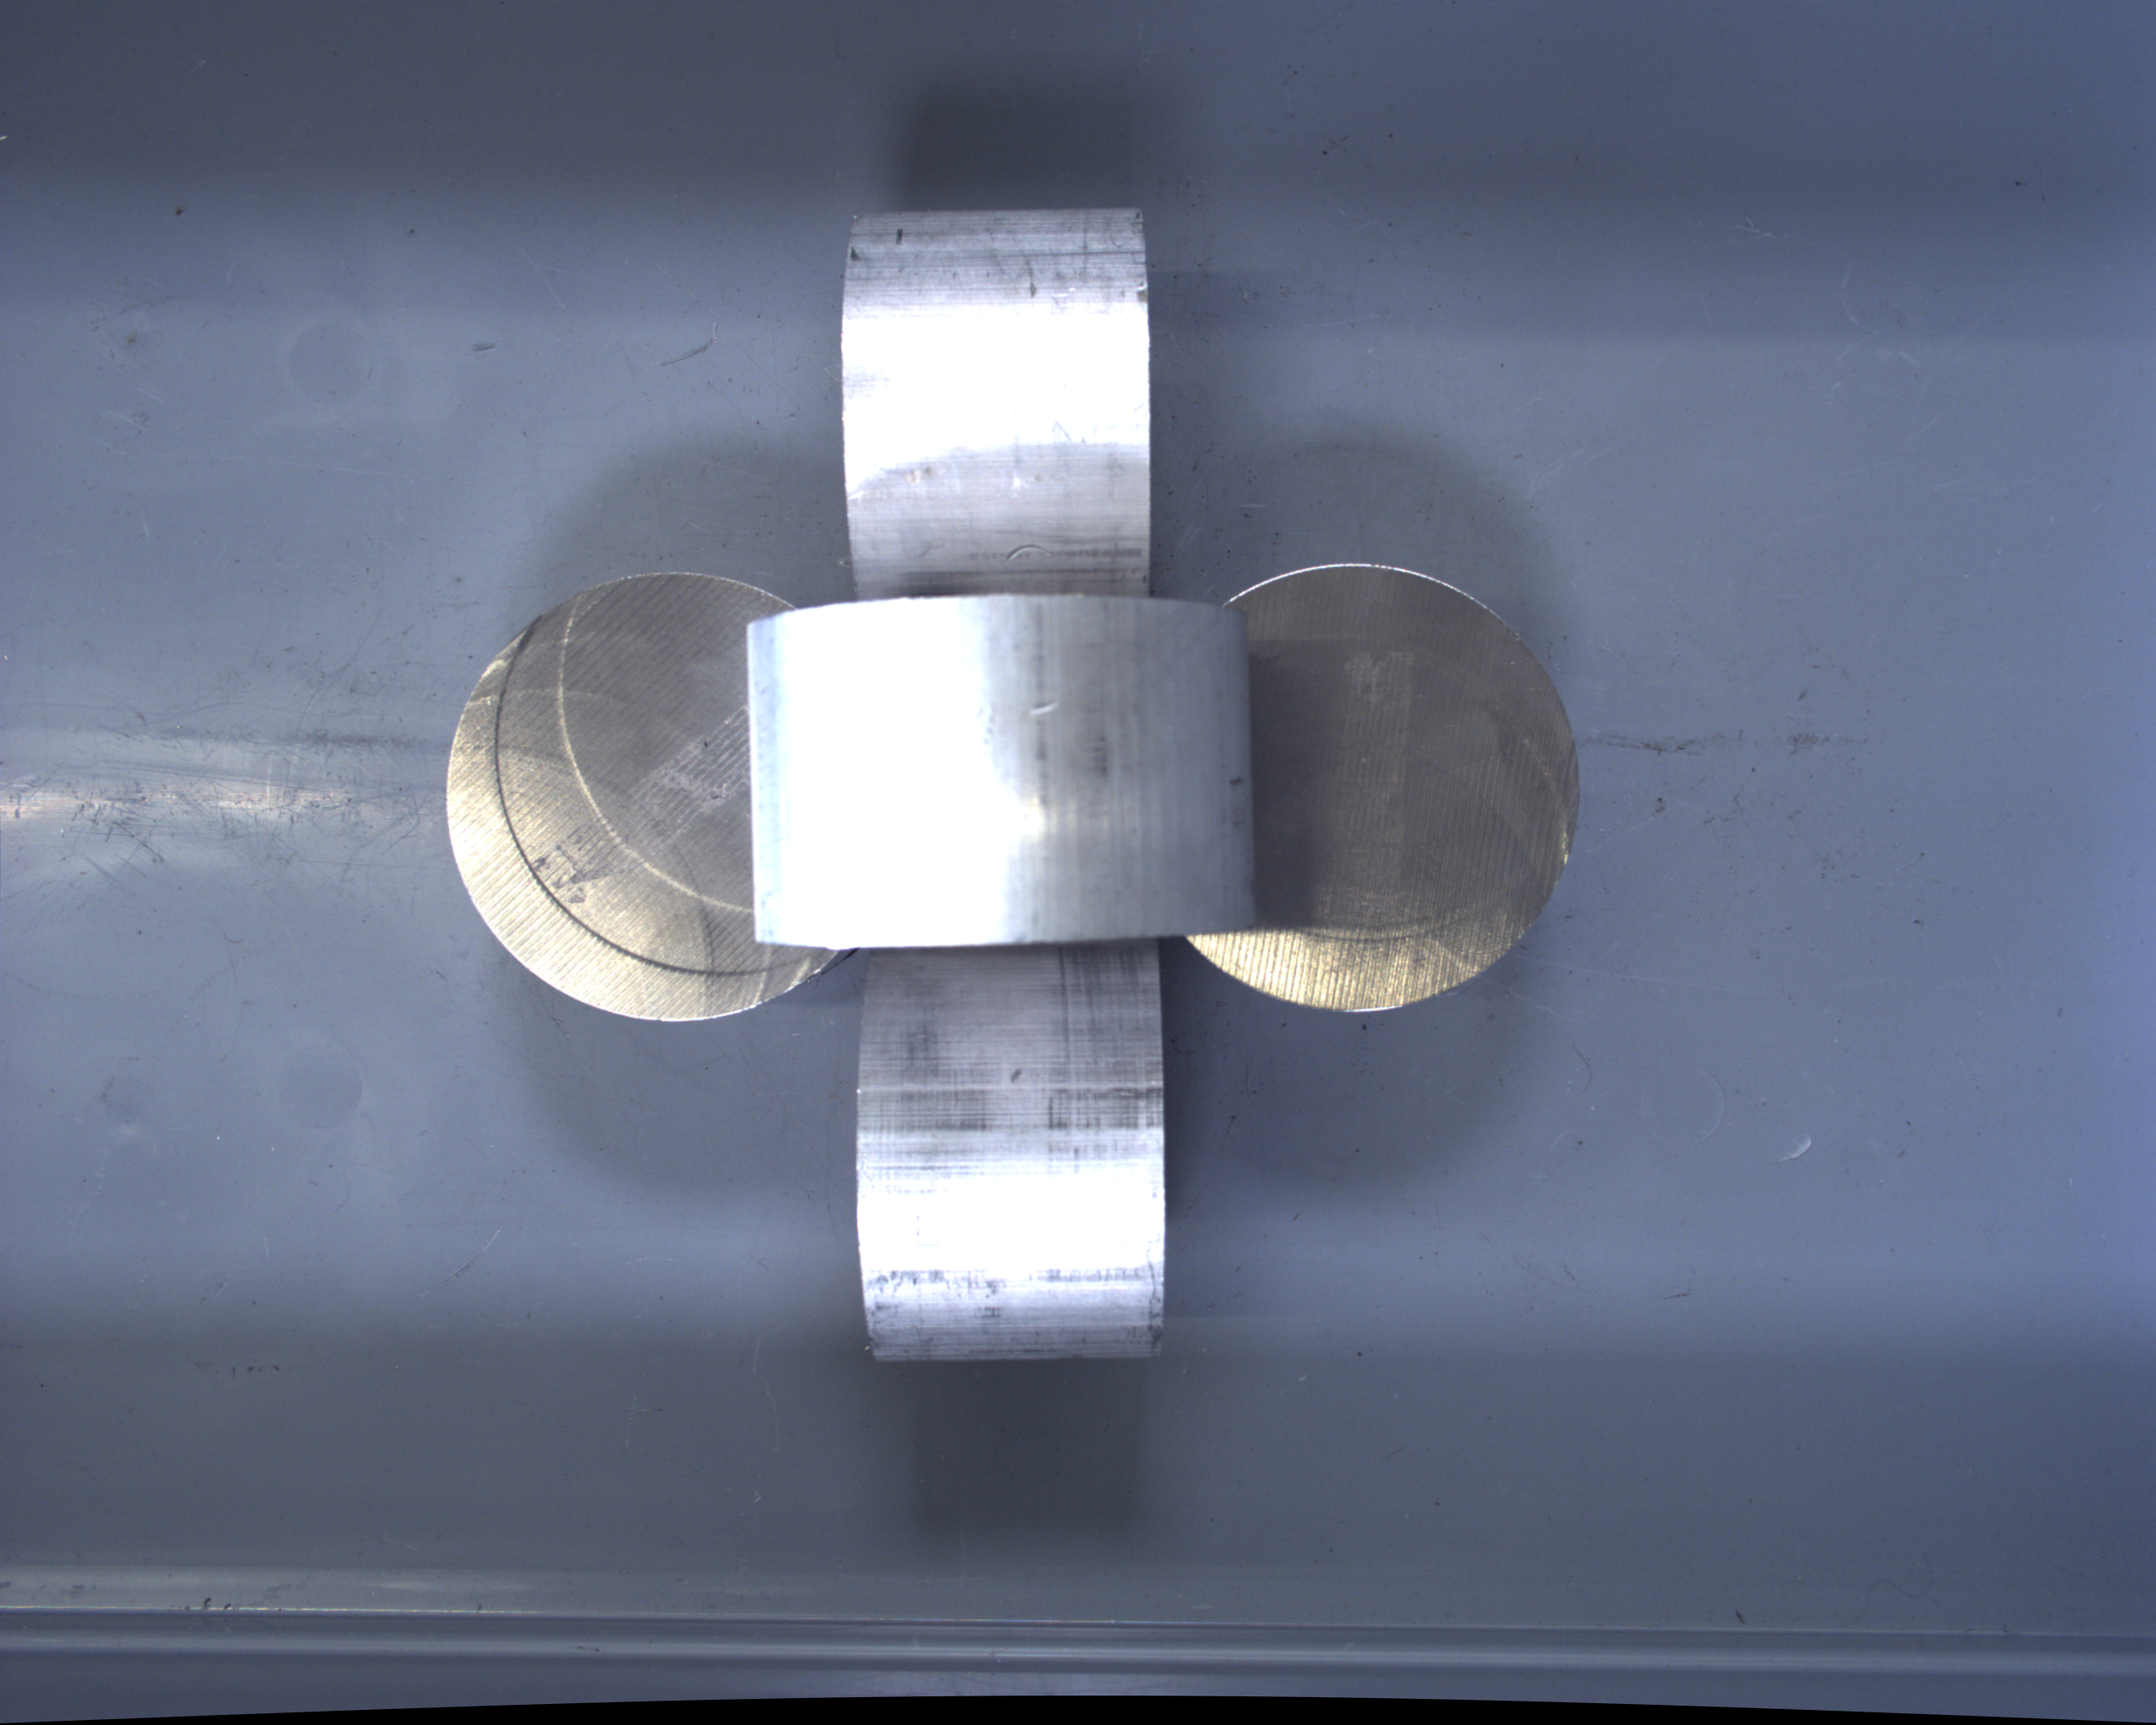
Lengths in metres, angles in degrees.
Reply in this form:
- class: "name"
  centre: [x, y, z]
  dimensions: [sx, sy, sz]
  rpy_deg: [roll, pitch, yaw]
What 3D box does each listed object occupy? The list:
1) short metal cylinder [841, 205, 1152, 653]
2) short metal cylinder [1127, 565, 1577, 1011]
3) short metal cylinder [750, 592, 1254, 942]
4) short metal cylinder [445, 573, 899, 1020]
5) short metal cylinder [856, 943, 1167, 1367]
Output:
- class: "short metal cylinder"
  centre: [-0.014, -0.078, 0.382]
  dimensions: [0.050, 0.080, 0.080]
  rpy_deg: [-2, 90, -1]
- class: "short metal cylinder"
  centre: [0.049, -0.013, 0.397]
  dimensions: [0.081, 0.050, 0.080]
  rpy_deg: [0, 90, 0]
- class: "short metal cylinder"
  centre: [-0.012, -0.014, 0.338]
  dimensions: [0.081, 0.080, 0.050]
  rpy_deg: [-1, 90, 0]
- class: "short metal cylinder"
  centre: [-0.072, -0.012, 0.396]
  dimensions: [0.081, 0.050, 0.080]
  rpy_deg: [0, 90, 0]
- class: "short metal cylinder"
  centre: [-0.011, 0.050, 0.382]
  dimensions: [0.050, 0.080, 0.080]
  rpy_deg: [-2, 90, -1]
